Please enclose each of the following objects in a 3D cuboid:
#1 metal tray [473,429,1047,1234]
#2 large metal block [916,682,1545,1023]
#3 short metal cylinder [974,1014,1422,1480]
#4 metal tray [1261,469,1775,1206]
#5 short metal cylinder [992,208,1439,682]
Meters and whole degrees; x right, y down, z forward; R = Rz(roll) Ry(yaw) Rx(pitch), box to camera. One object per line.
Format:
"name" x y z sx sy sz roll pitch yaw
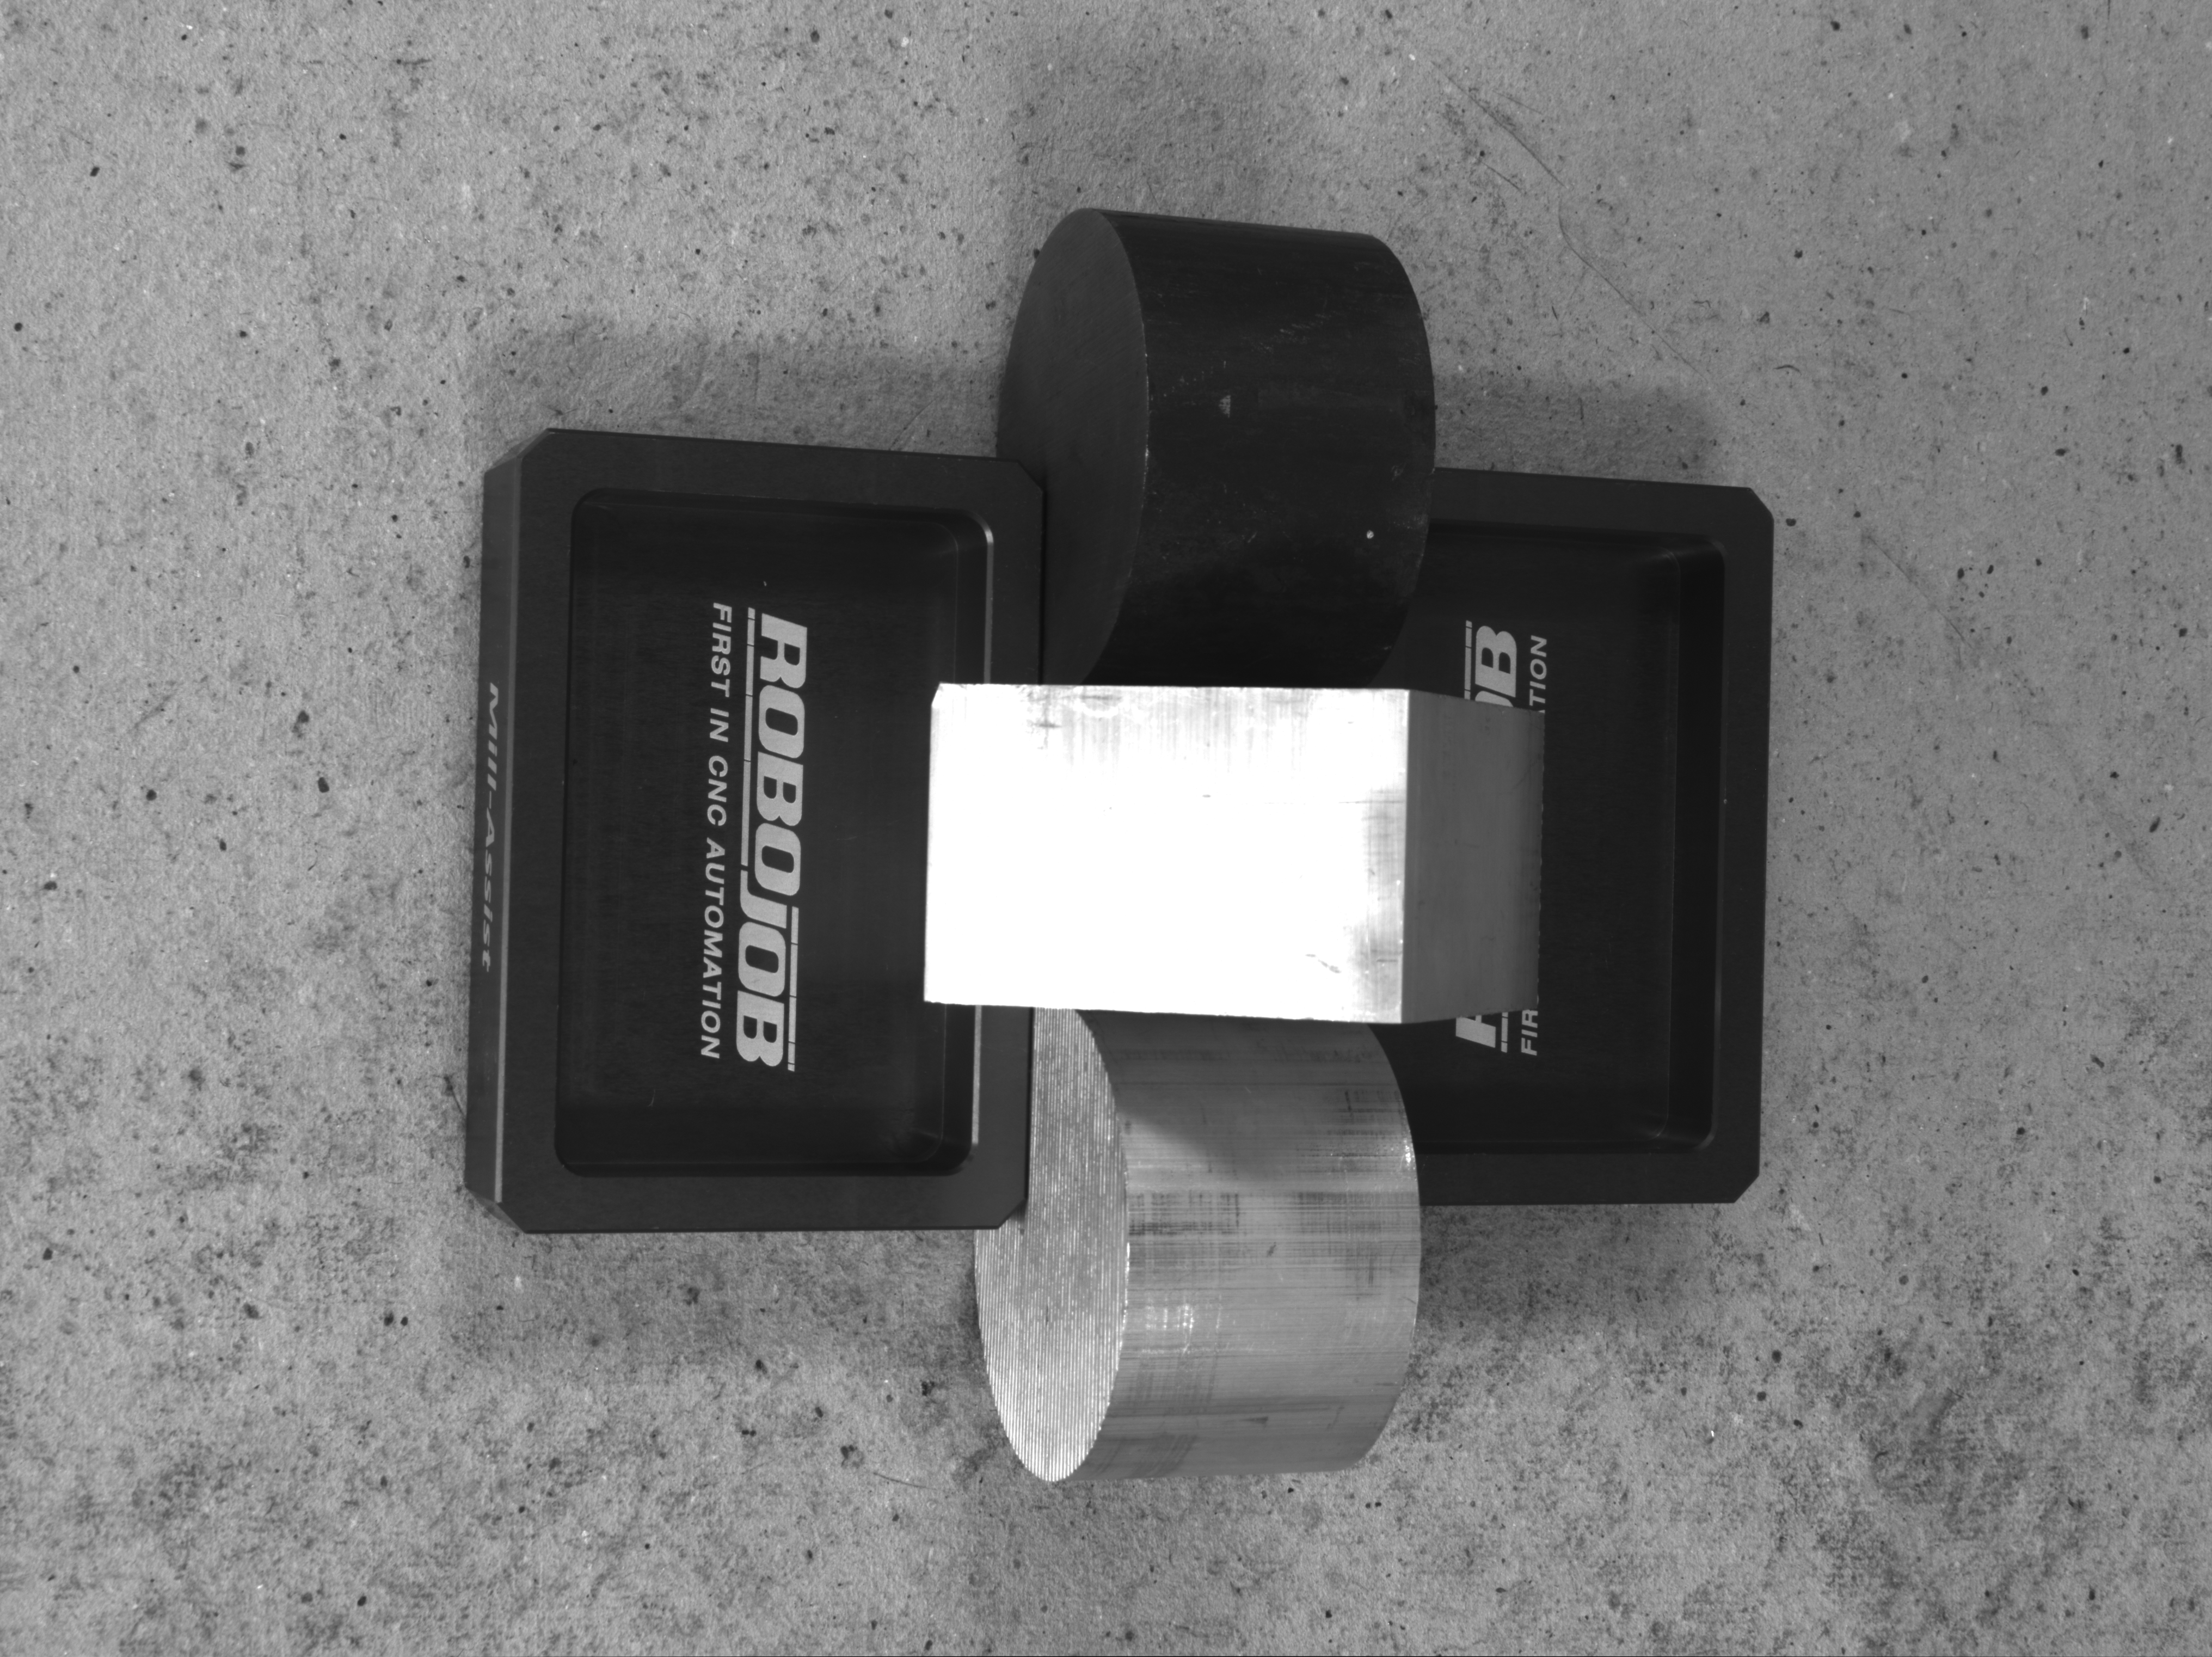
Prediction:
"metal tray" -0.058 0.002 0.620 0.090 0.030 0.130 2 89 -20
"large metal block" 0.022 0.004 0.601 0.080 0.080 0.050 2 90 20
"short metal cylinder" 0.014 0.069 0.619 0.050 0.080 0.080 2 89 -20
"metal tray" 0.073 0.002 0.668 0.090 0.030 0.130 2 89 -20
"short metal cylinder" 0.017 -0.062 0.620 0.050 0.080 0.080 2 89 -20
